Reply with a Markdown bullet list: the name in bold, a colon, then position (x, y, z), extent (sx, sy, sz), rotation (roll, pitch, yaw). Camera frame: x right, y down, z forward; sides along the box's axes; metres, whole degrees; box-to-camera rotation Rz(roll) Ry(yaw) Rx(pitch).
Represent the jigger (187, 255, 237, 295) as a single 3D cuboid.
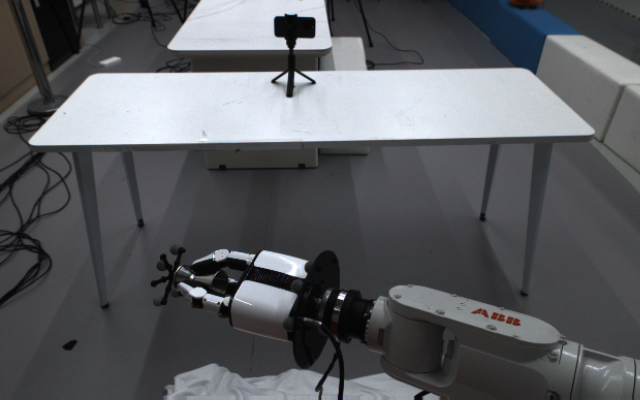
- **jigger**: position (-0.170, 0.117, 0.712), extent (0.071, 0.043, 0.043), rotation (6, 34, 22)
